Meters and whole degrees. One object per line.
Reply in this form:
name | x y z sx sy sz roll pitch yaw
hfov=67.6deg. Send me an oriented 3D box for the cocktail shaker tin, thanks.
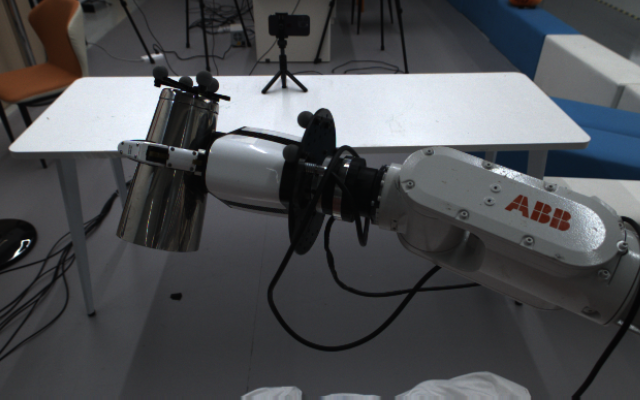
cocktail shaker tin | -0.167 -0.034 0.554 0.093 0.170 0.093 13 2 0
